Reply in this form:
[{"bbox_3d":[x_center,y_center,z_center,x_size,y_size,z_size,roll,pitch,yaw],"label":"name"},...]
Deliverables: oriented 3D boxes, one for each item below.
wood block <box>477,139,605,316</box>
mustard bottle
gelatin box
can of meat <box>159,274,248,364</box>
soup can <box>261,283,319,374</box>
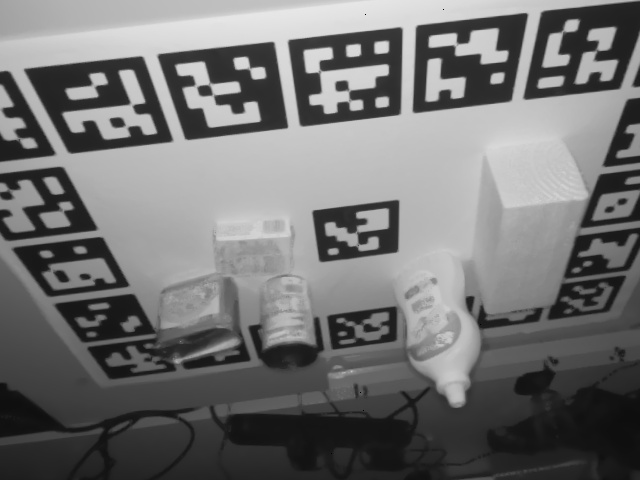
[{"bbox_3d":[0.242,-0.007,0.786,0.091,0.090,0.204,-5,143,0],"label":"wood block"},{"bbox_3d":[0.157,0.108,0.832,0.095,0.193,0.058,-23,137,20],"label":"mustard bottle"},{"bbox_3d":[-0.072,0.008,0.793,0.090,0.030,0.072,-2,136,-10],"label":"gelatin box"},{"bbox_3d":[-0.139,0.094,0.847,0.101,0.084,0.058,-14,137,12],"label":"can of meat"},{"bbox_3d":[-0.039,0.111,0.854,0.068,0.102,0.067,-5,137,-3],"label":"soup can"}]
